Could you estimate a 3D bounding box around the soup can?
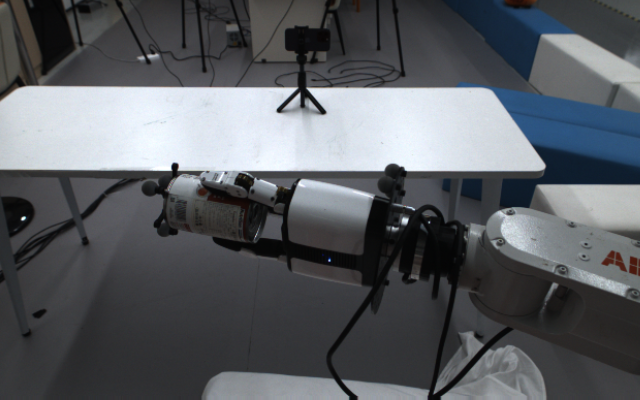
[{"bbox_3d":[-0.116,0.010,0.560,0.101,0.067,0.067,10,35,10],"label":"soup can"}]
